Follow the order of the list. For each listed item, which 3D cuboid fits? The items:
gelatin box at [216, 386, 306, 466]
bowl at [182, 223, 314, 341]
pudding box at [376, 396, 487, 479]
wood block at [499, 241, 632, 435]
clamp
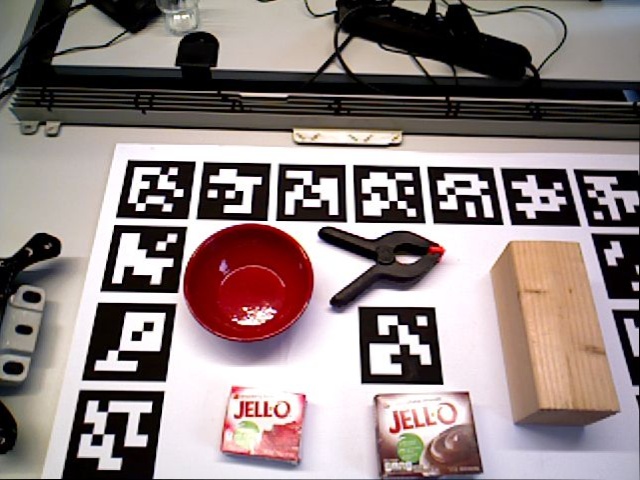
[{"bbox_3d":[-0.065,0.208,0.610,0.089,0.031,0.072,8,64,2],"label":"gelatin box"},{"bbox_3d":[-0.089,0.056,0.684,0.161,0.056,0.160,1,65,-3],"label":"bowl"},{"bbox_3d":[0.120,0.223,0.606,0.113,0.039,0.089,0,66,0],"label":"pudding box"},{"bbox_3d":[0.280,0.113,0.638,0.089,0.092,0.203,4,62,-2],"label":"wood block"},{"bbox_3d":[0.071,0.029,0.716,0.163,0.037,0.120,-7,62,-8],"label":"clamp"}]
